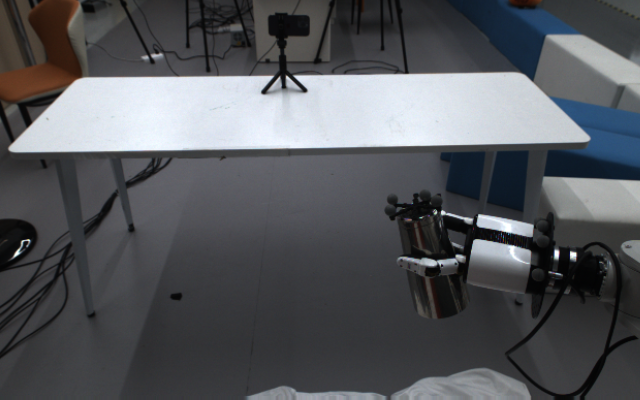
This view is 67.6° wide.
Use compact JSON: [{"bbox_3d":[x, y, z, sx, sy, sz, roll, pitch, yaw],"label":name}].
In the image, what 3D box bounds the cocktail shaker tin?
[{"bbox_3d":[0.175,0.090,0.768,0.093,0.170,0.093,-17,20,7],"label":"cocktail shaker tin"}]
